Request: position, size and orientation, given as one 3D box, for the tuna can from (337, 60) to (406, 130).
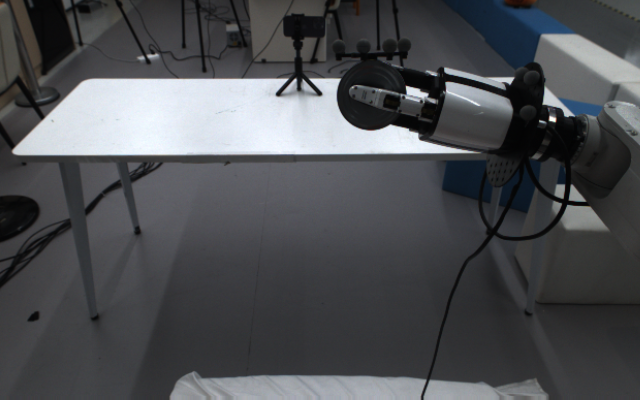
[{"bbox_3d":[0.065,-0.134,0.613,0.085,0.085,0.034,4,18,3],"label":"tuna can"}]
